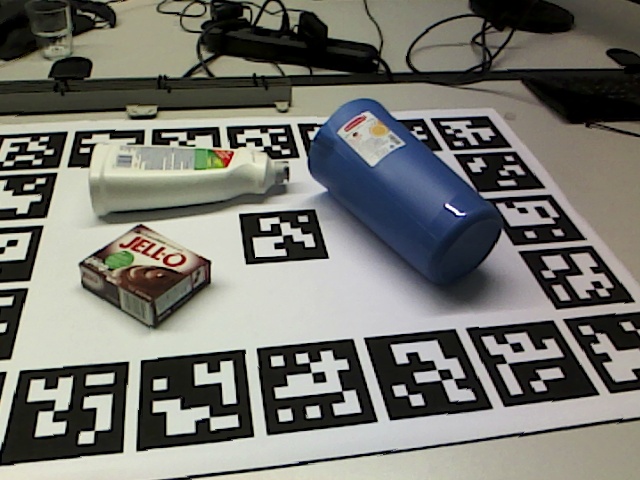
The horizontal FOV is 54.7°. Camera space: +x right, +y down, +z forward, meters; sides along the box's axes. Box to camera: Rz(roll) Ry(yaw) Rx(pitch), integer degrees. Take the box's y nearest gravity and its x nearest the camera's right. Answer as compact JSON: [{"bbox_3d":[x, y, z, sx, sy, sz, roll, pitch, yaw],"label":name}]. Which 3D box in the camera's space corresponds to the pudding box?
[{"bbox_3d":[-0.197,0.034,0.687,0.114,0.038,0.089,28,40,24],"label":"pudding box"}]

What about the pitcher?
[{"bbox_3d":[0.107,-0.046,0.776,0.187,0.133,0.244,13,29,-50],"label":"pitcher"}]

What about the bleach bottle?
[{"bbox_3d":[-0.168,-0.087,0.823,0.250,0.068,0.103,-4,45,-13],"label":"bleach bottle"}]
